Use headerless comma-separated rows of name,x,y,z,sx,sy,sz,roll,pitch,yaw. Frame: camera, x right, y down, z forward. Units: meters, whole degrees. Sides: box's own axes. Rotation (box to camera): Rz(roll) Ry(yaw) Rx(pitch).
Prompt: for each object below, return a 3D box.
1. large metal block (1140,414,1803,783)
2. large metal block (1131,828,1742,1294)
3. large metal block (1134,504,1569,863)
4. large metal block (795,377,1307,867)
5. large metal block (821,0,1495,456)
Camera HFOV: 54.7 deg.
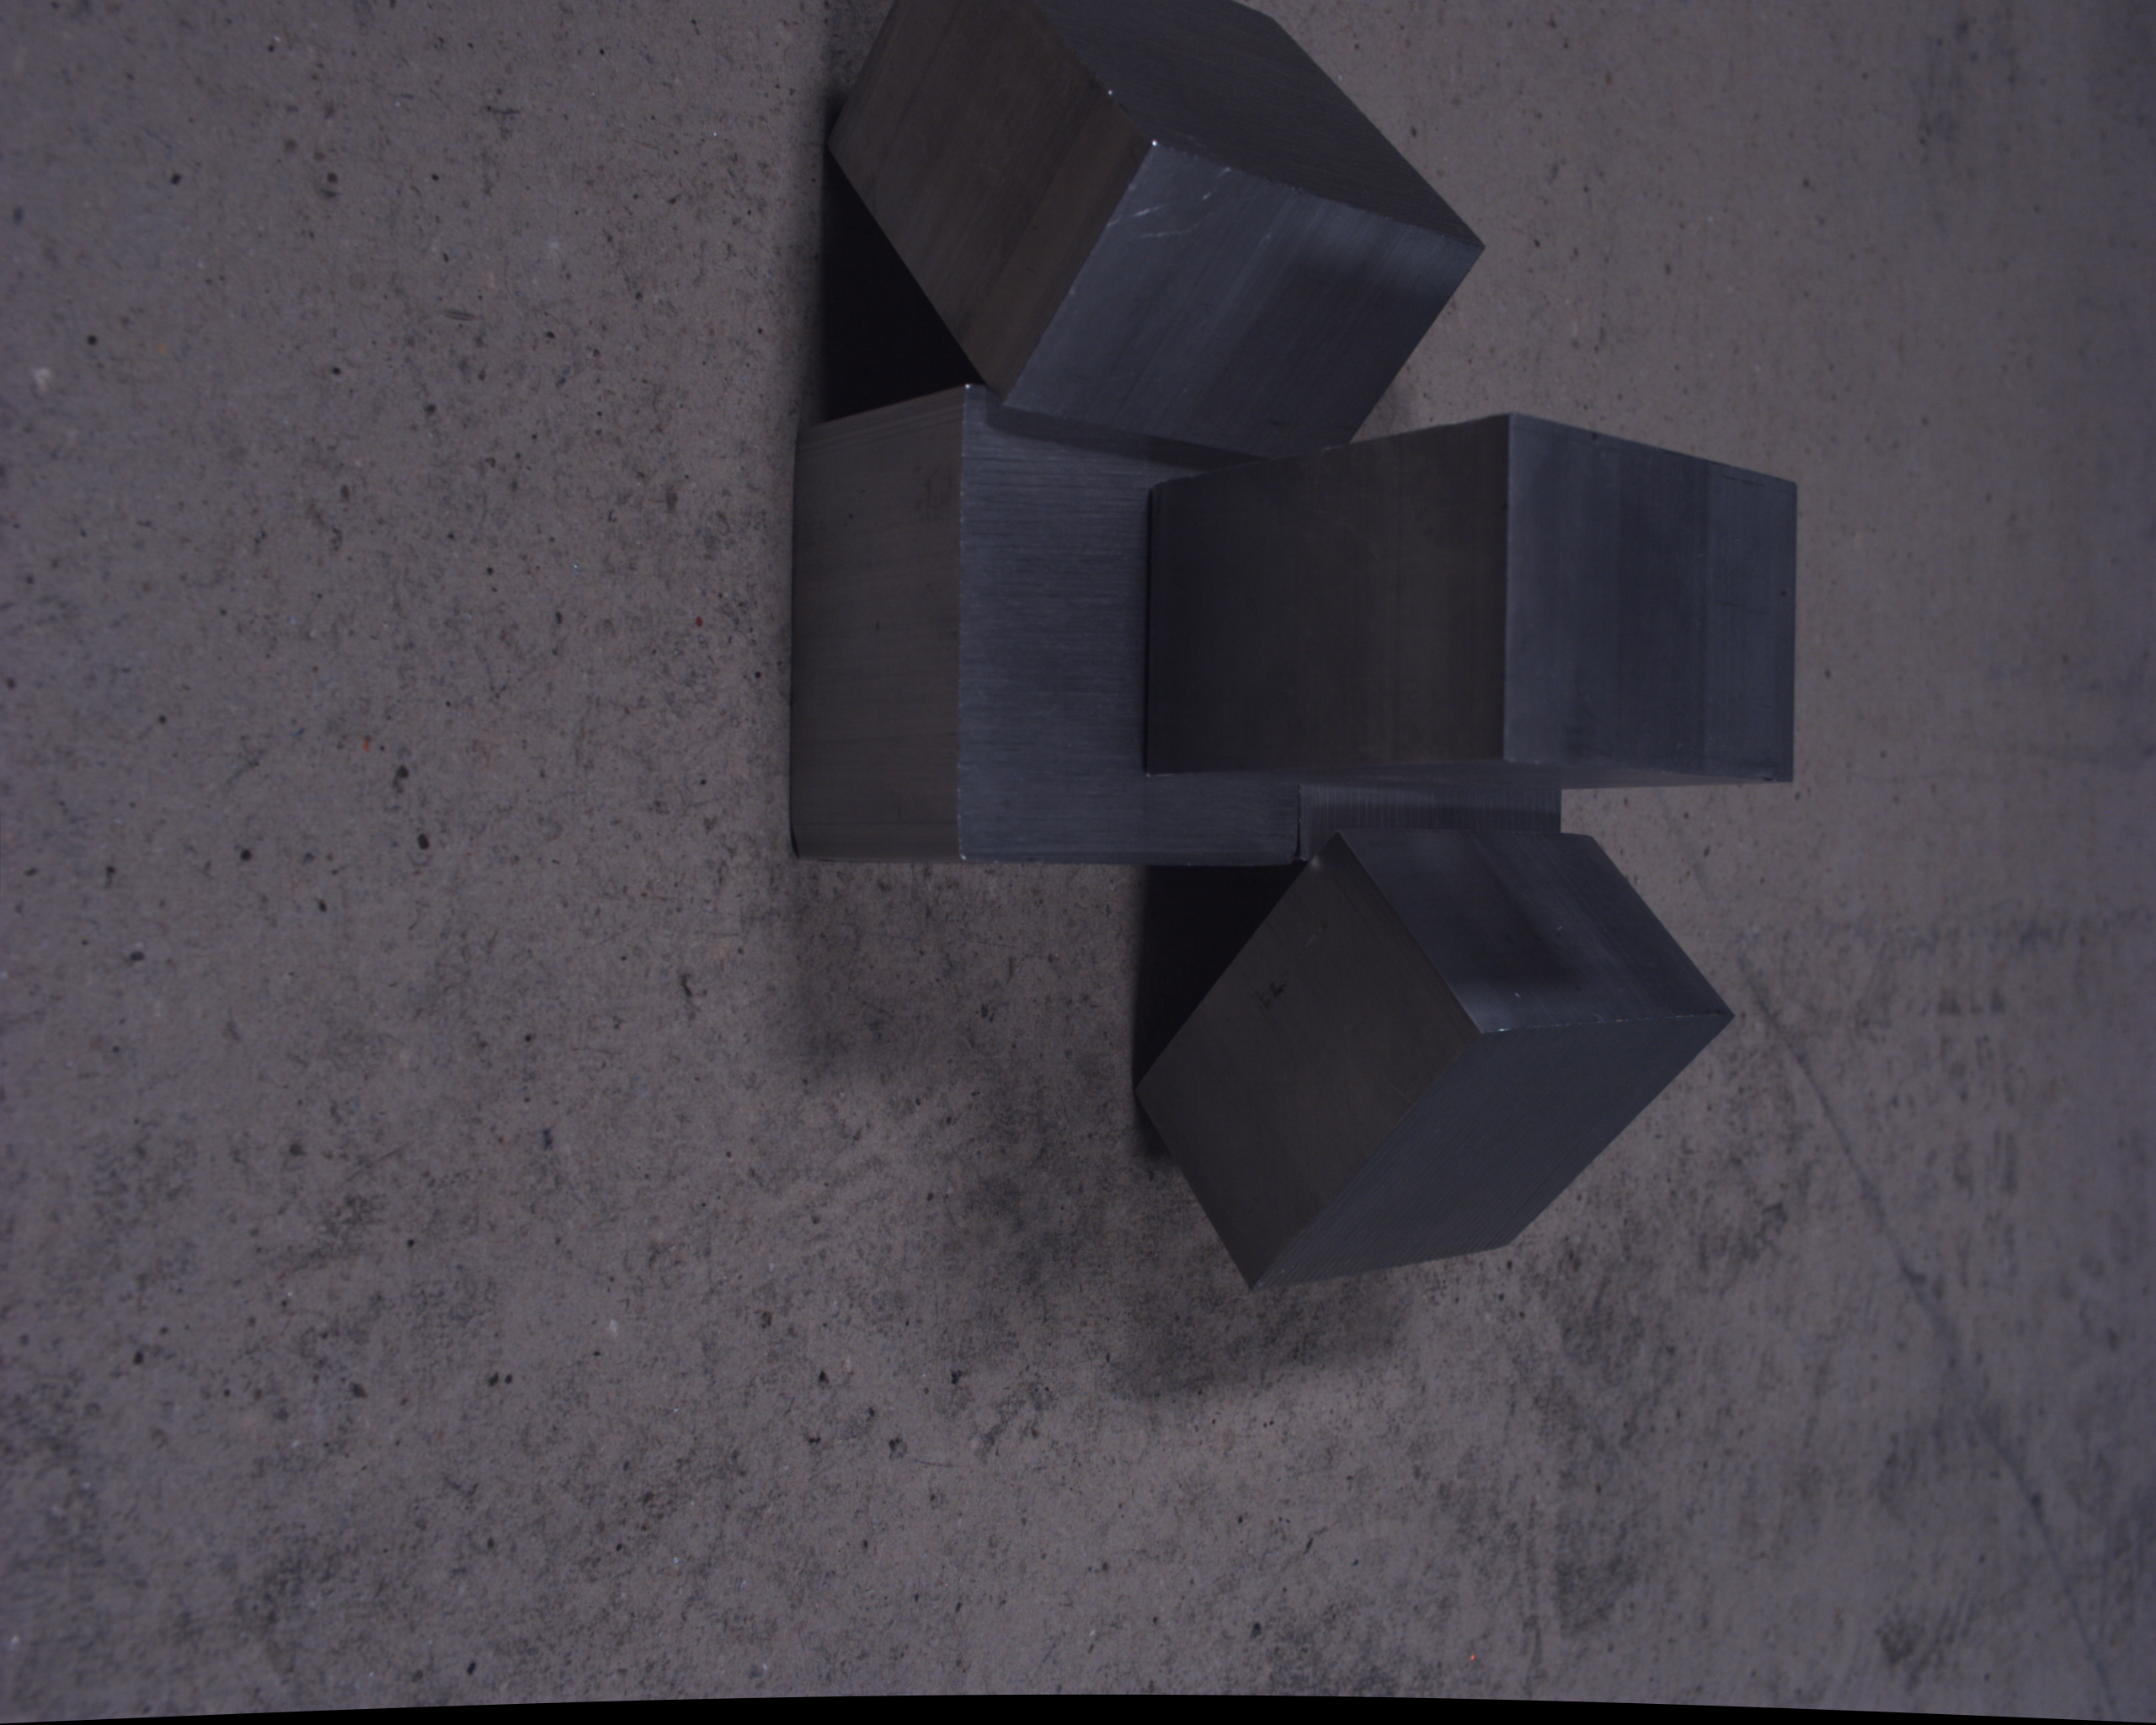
large metal block,0.068,-0.041,0.365,0.081,0.080,0.050,2,89,-40
large metal block,0.072,0.039,0.425,0.081,0.080,0.050,1,46,-41
large metal block,0.058,-0.039,0.439,0.081,0.050,0.079,1,90,-40
large metal block,-0.004,-0.040,0.386,0.081,0.050,0.079,1,90,-40
large metal block,0.013,-0.121,0.375,0.081,0.050,0.080,1,46,-40
